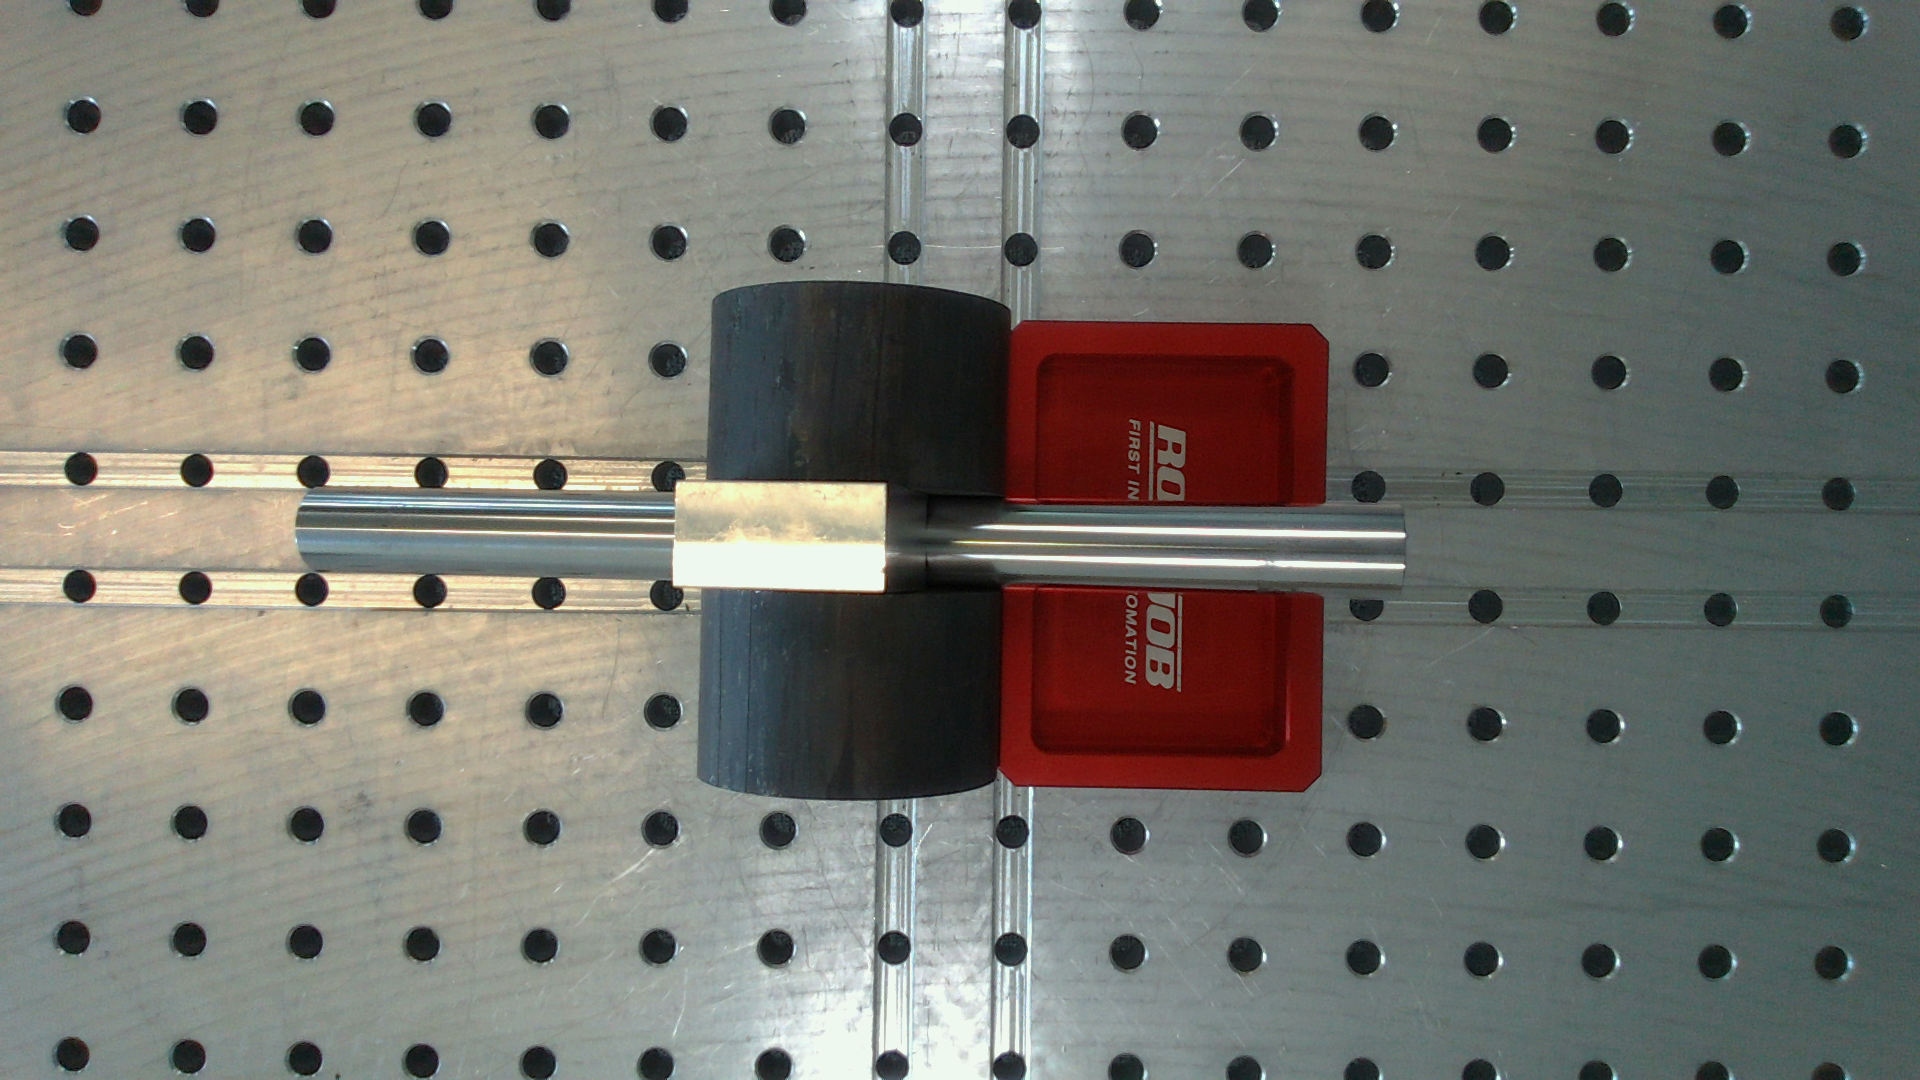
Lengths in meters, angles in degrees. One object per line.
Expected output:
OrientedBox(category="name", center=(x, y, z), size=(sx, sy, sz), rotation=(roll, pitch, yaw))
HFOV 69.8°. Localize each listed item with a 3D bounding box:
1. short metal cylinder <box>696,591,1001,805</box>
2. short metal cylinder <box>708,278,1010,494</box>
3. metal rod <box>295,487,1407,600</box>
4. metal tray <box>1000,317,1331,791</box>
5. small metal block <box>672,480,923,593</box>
OrientedBox(category="short metal cylinder", center=(-0.030, 0.038, 0.370), size=(0.080, 0.080, 0.050), rotation=(1, 90, 0))
OrientedBox(category="short metal cylinder", center=(-0.027, -0.038, 0.368), size=(0.080, 0.080, 0.050), rotation=(1, 90, 0))
OrientedBox(category="metal rod", center=(-0.036, 0.000, 0.374), size=(0.300, 0.025, 0.025), rotation=(1, 90, 9))
OrientedBox(category="metal tray", center=(0.057, 0.004, 0.395), size=(0.090, 0.030, 0.130), rotation=(1, 90, 0))
OrientedBox(category="small metal block", center=(-0.038, -0.001, 0.337), size=(0.050, 0.050, 0.025), rotation=(1, 90, 8))
